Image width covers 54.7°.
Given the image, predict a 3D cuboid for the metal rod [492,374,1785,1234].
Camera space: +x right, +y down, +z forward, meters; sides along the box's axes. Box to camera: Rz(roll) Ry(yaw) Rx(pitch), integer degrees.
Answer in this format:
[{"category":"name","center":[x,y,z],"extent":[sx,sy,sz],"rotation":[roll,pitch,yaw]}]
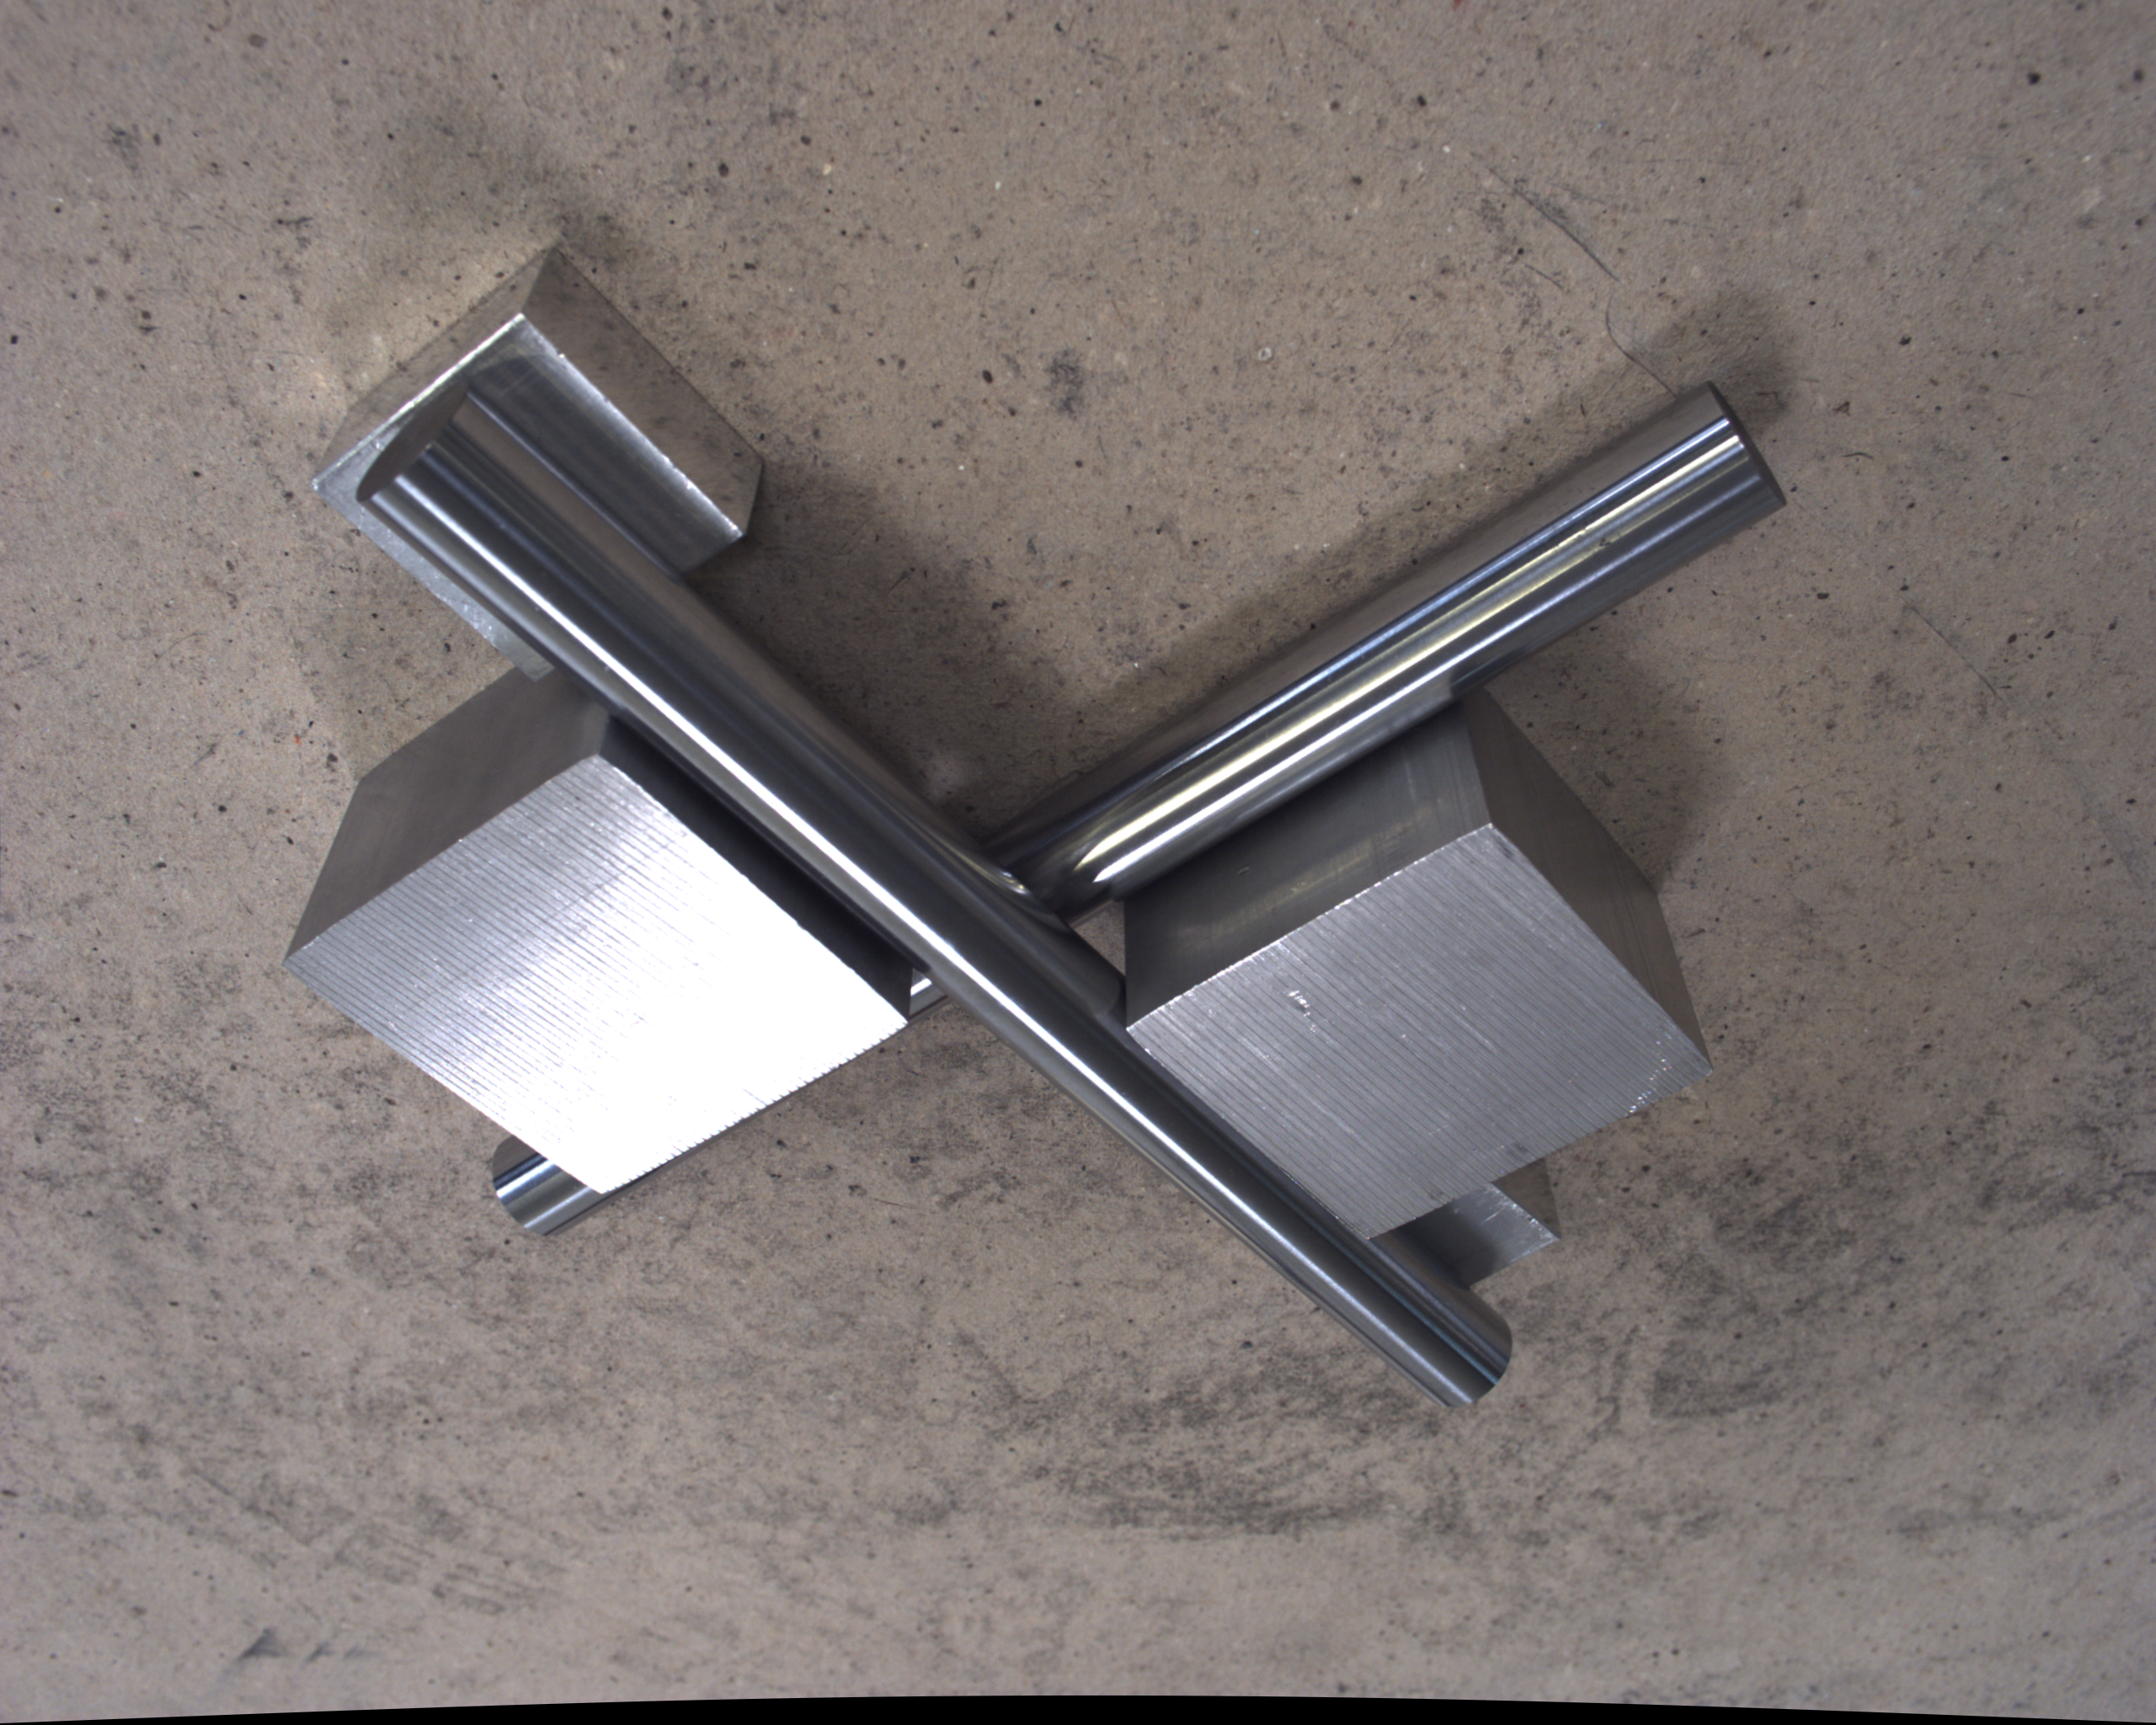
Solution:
[{"category":"metal rod","center":[-0.005,0.000,0.410],"extent":[0.300,0.025,0.025],"rotation":[-32,124,24]}]

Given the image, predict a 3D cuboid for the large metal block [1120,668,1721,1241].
[{"category":"large metal block","center":[0.065,0.019,0.409],"extent":[0.080,0.050,0.080],"rotation":[-32,124,24]}]

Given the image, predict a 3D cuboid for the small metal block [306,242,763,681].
[{"category":"small metal block","center":[-0.090,-0.066,0.352],"extent":[0.050,0.025,0.050],"rotation":[-30,124,23]}]

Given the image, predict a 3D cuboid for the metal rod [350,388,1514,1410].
[{"category":"metal rod","center":[-0.008,0.024,0.396],"extent":[0.025,0.025,0.300],"rotation":[-32,124,24]}]

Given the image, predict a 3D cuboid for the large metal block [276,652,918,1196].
[{"category":"large metal block","center":[-0.086,0.007,0.395],"extent":[0.080,0.050,0.080],"rotation":[-30,124,23]}]

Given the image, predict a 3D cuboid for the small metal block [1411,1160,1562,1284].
[{"category":"small metal block","center":[0.072,0.074,0.474],"extent":[0.050,0.025,0.050],"rotation":[-36,122,26]}]
